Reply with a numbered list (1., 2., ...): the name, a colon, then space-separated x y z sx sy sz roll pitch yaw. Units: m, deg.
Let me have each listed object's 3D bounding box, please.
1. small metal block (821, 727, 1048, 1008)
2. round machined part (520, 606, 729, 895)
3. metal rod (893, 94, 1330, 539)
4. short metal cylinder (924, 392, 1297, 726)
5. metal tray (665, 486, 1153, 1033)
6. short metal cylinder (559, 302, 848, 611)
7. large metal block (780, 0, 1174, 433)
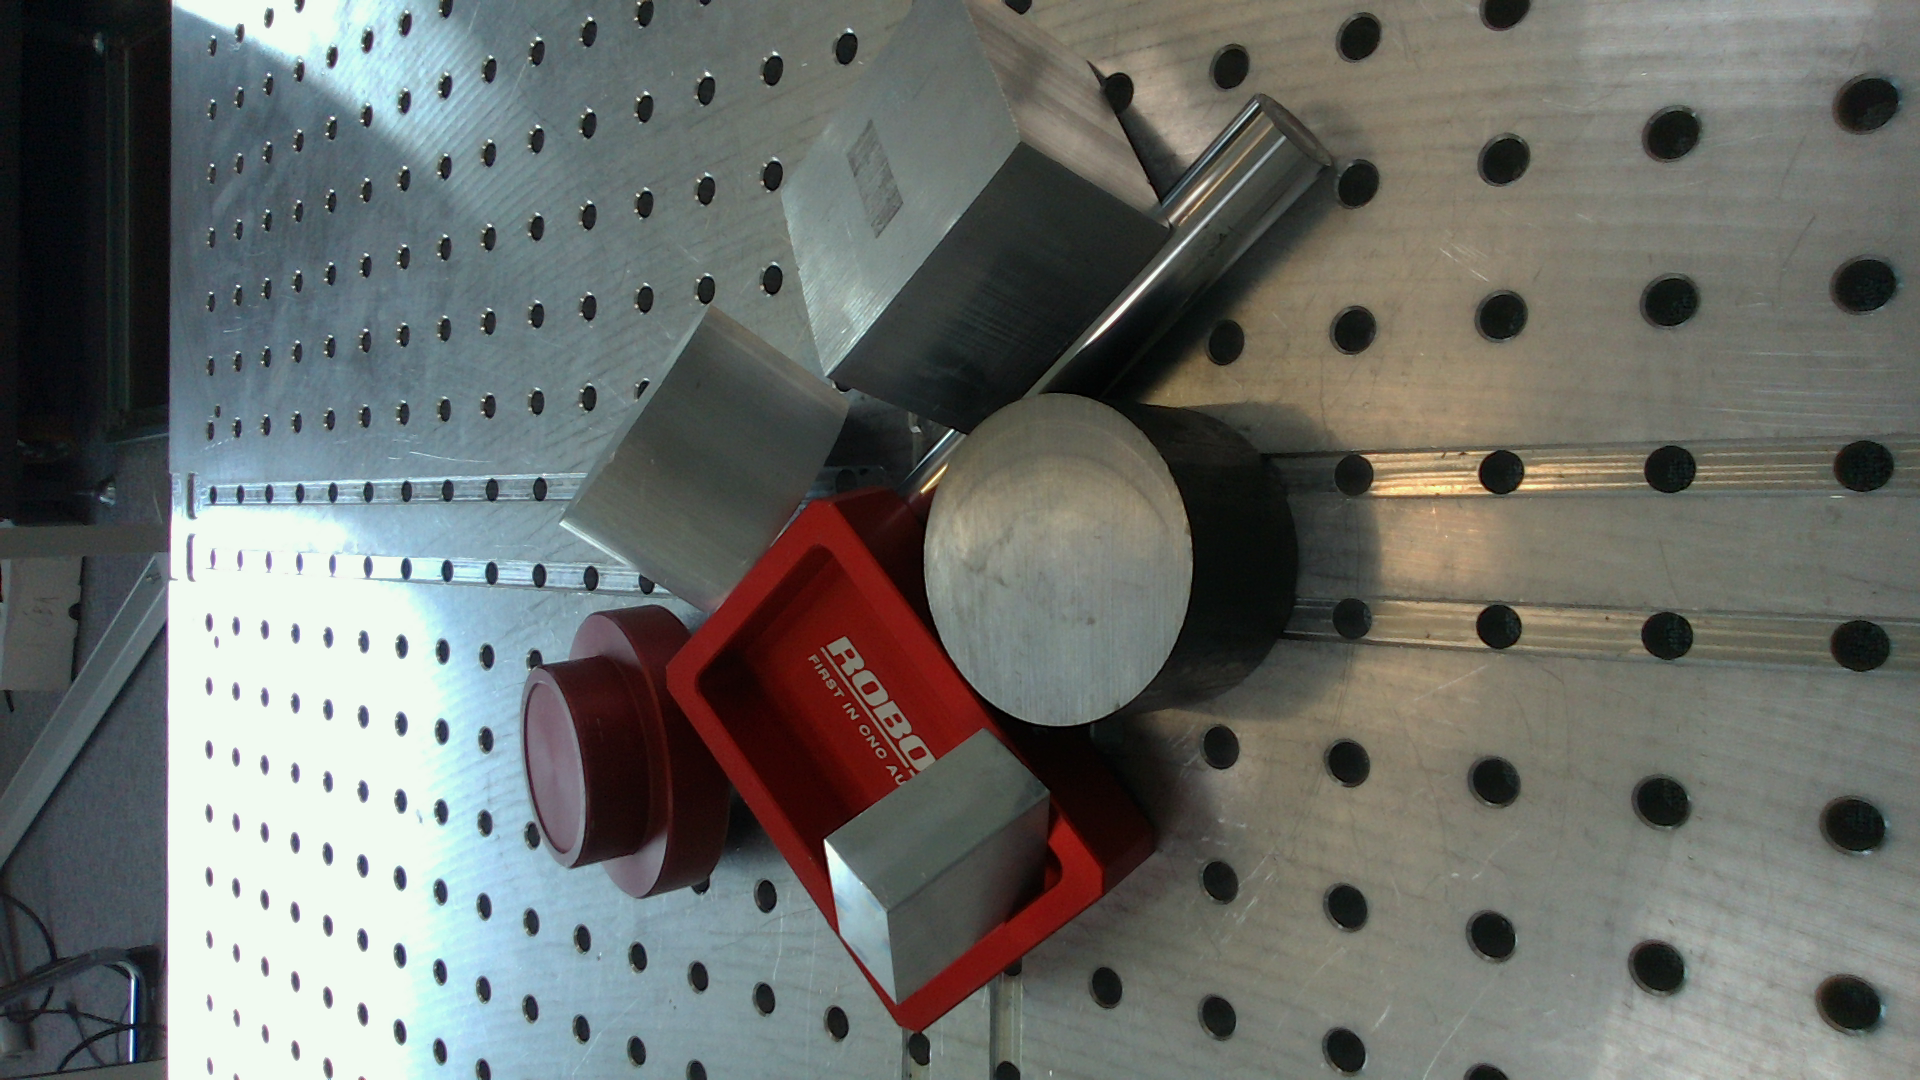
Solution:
1. small metal block: -0.005 0.083 0.348 0.025 0.050 0.050 41 150 31
2. round machined part: -0.119 0.073 0.470 0.098 0.042 0.098 14 107 54
3. metal rod: -0.009 -0.006 0.408 0.299 0.025 0.025 -46 62 31
4. short metal cylinder: 0.037 0.004 0.349 0.080 0.050 0.080 0 90 40
5. metal tray: -0.019 0.061 0.392 0.090 0.030 0.130 -45 75 31
6. short metal cylinder: -0.078 -0.025 0.420 0.080 0.050 0.080 -49 17 22
7. large metal block: 0.000 -0.088 0.366 0.080 0.050 0.080 -45 43 31
